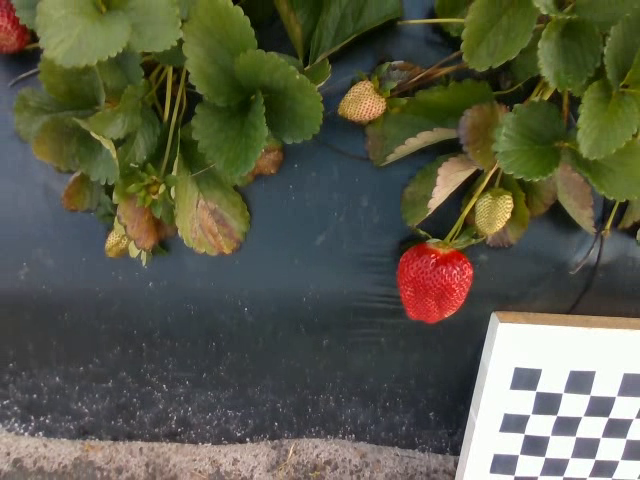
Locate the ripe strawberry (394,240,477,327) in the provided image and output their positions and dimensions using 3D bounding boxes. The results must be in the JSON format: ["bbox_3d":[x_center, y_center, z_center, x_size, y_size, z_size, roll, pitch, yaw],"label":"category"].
[{"bbox_3d":[0.093,0.037,0.486,0.067,0.075,0.039,9,20,-1],"label":"ripe strawberry"}]
